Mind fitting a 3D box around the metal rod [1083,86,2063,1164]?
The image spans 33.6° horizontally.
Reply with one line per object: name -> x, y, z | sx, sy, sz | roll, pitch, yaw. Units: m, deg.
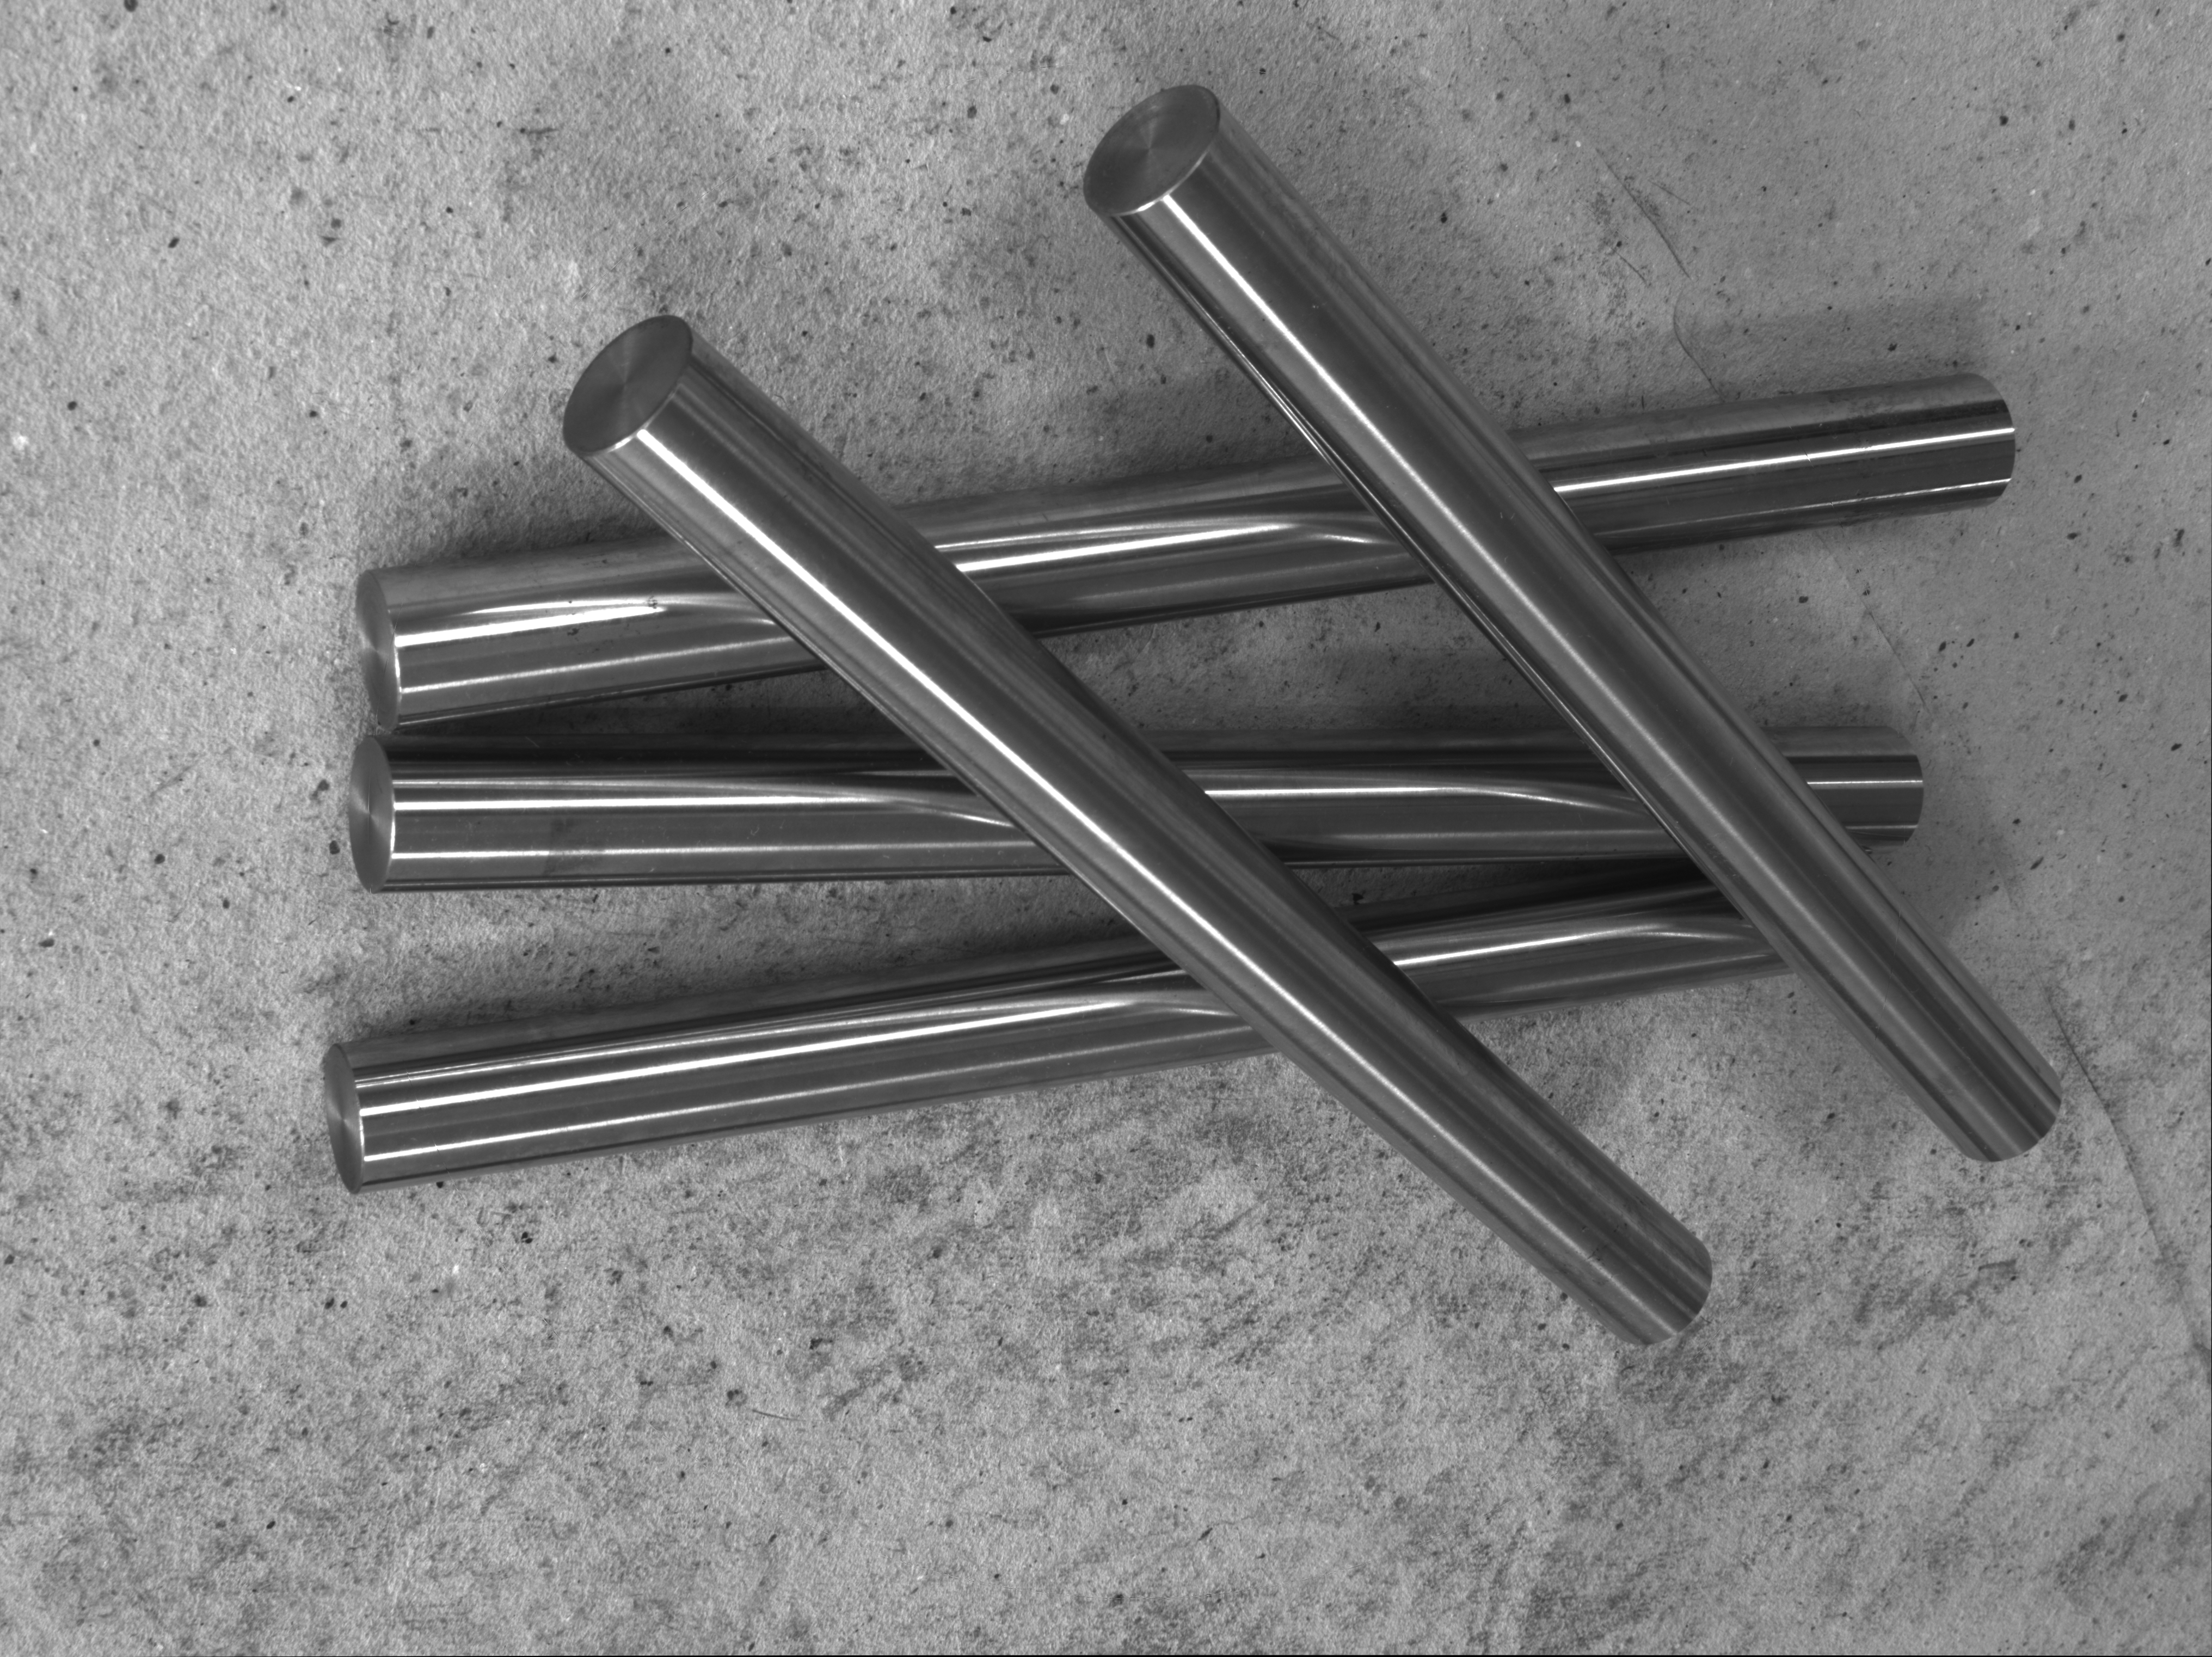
metal rod -> 0.093, -0.022, 0.642 | 0.025, 0.025, 0.301 | -45, 129, 3

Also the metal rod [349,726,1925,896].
metal rod -> 0.018, -0.005, 0.644 | 0.301, 0.025, 0.025 | -1, 119, -28

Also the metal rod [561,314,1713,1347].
metal rod -> 0.019, 0.013, 0.623 | 0.025, 0.025, 0.301 | -46, 129, 4

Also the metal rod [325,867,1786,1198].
metal rod -> 0.011, 0.031, 0.662 | 0.301, 0.025, 0.025 | -7, 121, -25

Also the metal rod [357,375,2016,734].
metal rod -> 0.025, -0.049, 0.621 | 0.301, 0.025, 0.025 | -9, 122, -23
